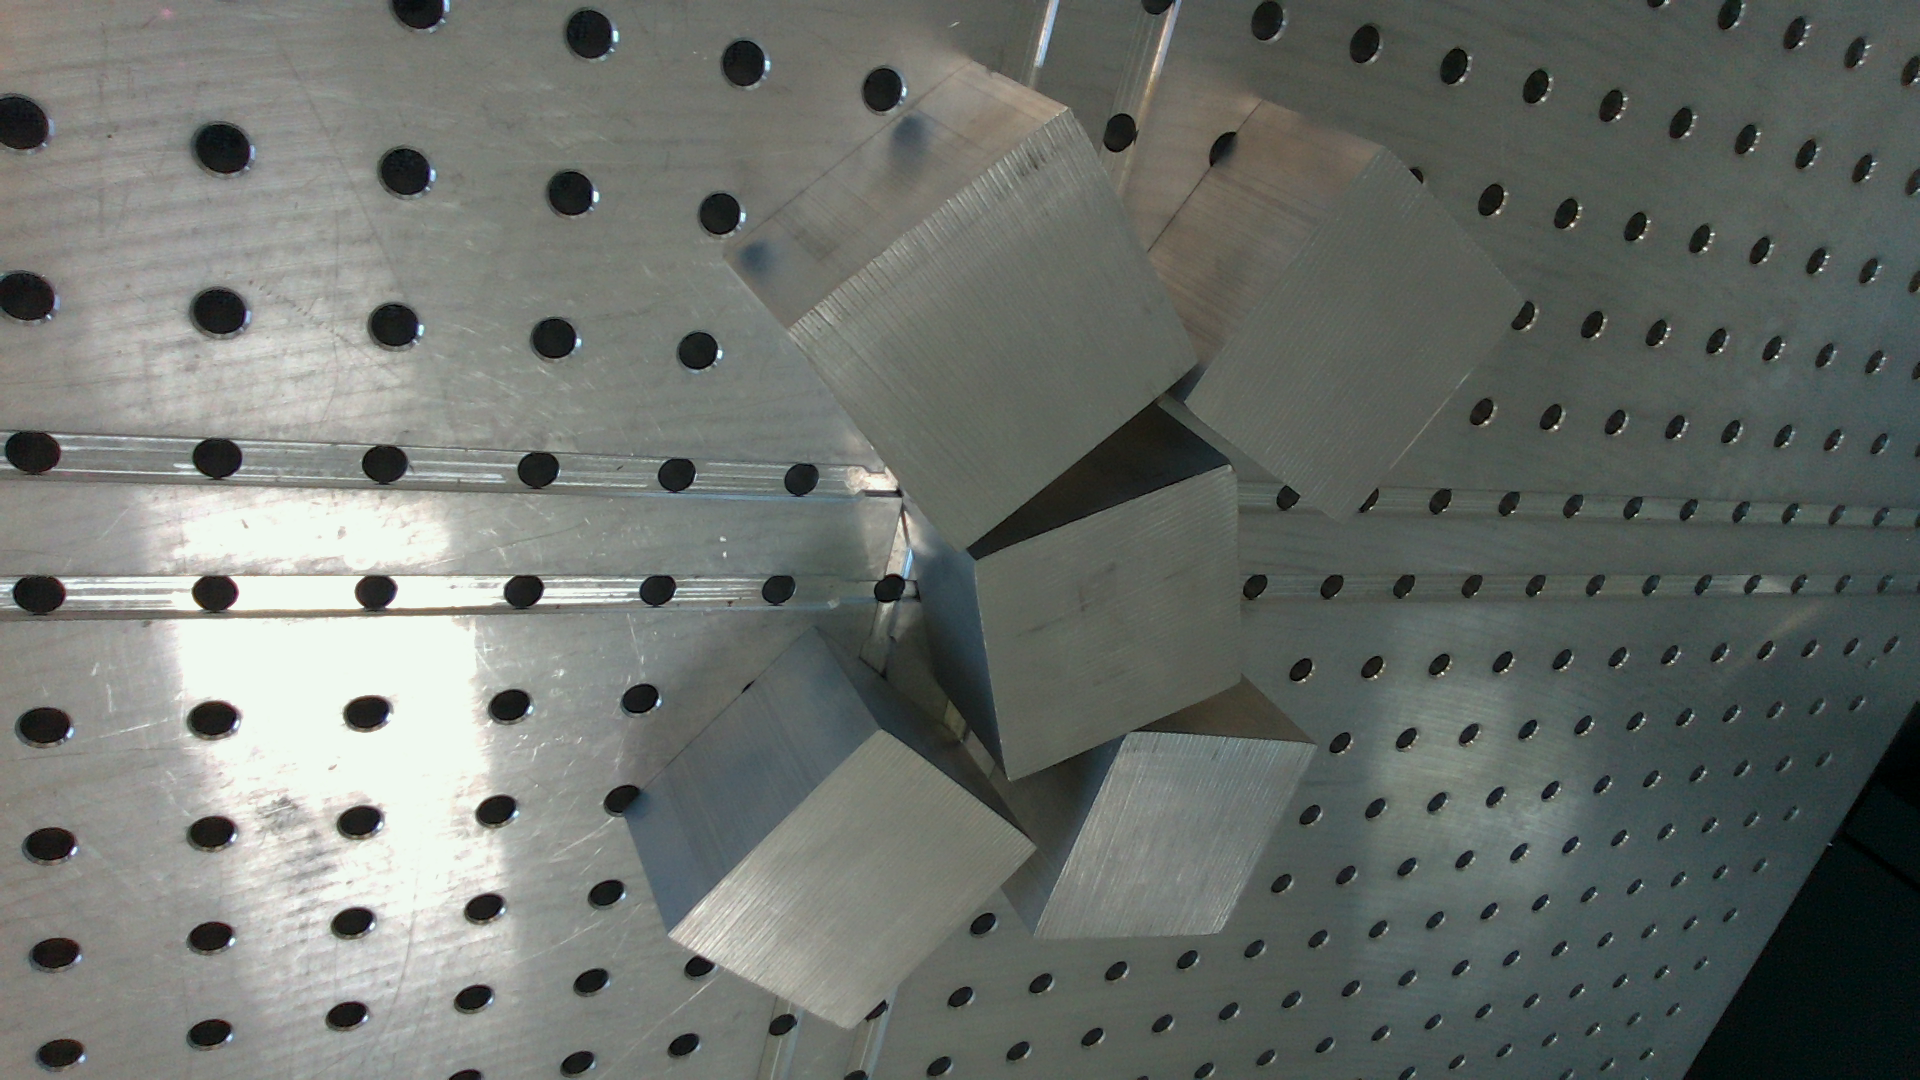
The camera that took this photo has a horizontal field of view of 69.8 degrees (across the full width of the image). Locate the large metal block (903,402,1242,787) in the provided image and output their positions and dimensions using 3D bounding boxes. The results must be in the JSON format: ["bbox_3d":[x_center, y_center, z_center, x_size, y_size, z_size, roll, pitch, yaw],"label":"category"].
[{"bbox_3d":[0.033,0.013,0.401,0.080,0.050,0.080,-21,126,-16],"label":"large metal block"}]

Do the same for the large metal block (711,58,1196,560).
[{"bbox_3d":[0.000,-0.057,0.341,0.080,0.050,0.080,-38,129,-2],"label":"large metal block"}]

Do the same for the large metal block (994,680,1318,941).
[{"bbox_3d":[0.058,0.084,0.459,0.080,0.050,0.080,9,114,-33],"label":"large metal block"}]

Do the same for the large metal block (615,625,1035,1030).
[{"bbox_3d":[-0.039,0.086,0.405,0.080,0.050,0.080,-44,129,2],"label":"large metal block"}]

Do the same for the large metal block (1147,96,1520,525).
[{"bbox_3d":[0.097,-0.063,0.389,0.080,0.050,0.080,28,103,-40],"label":"large metal block"}]
